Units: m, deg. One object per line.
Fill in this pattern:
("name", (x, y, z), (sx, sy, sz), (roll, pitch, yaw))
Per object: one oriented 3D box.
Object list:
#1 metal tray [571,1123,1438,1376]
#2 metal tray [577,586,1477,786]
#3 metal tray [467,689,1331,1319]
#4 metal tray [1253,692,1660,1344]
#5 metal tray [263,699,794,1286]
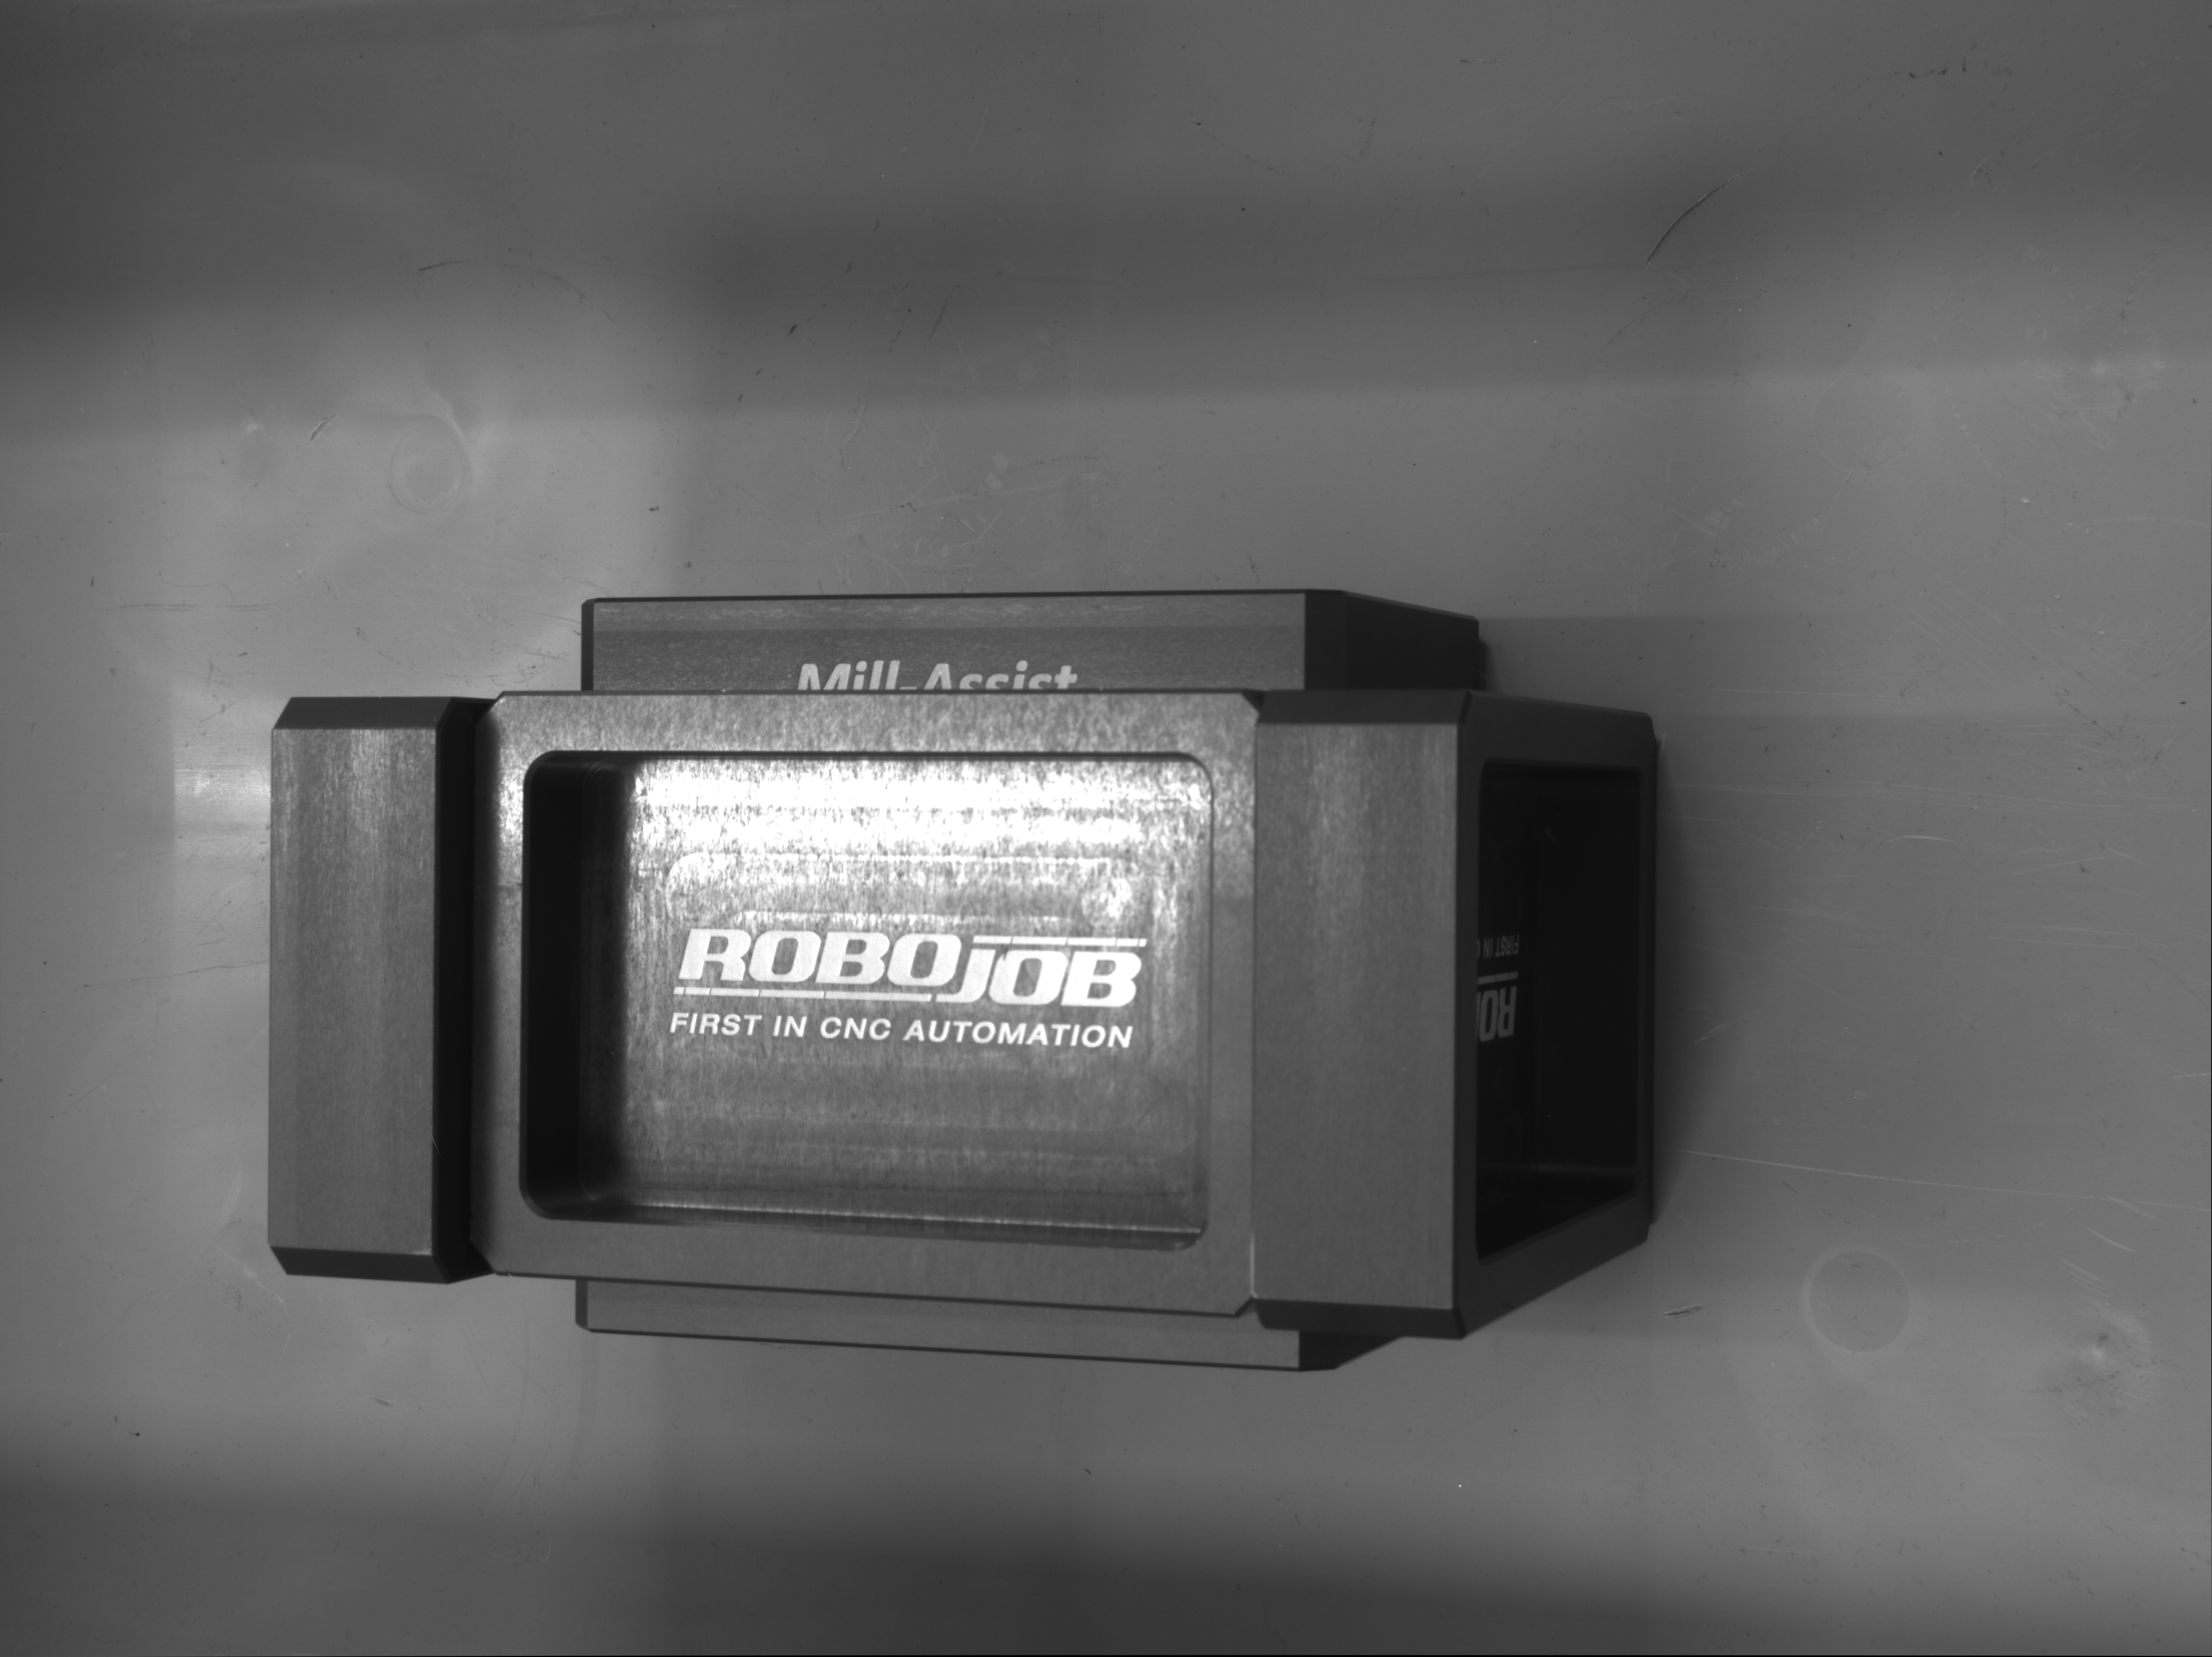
("metal tray", (-0.012, 0.068, 0.613), (0.130, 0.090, 0.030), (0, 89, 20))
("metal tray", (-0.011, -0.022, 0.613), (0.130, 0.090, 0.030), (0, 91, 20))
("metal tray", (-0.032, 0.024, 0.558), (0.130, 0.030, 0.090), (1, 90, 20))
("metal tray", (0.057, 0.026, 0.567), (0.030, 0.130, 0.090), (1, 91, 20))
("metal tray", (-0.094, 0.025, 0.623), (0.030, 0.130, 0.090), (1, 90, 20))
